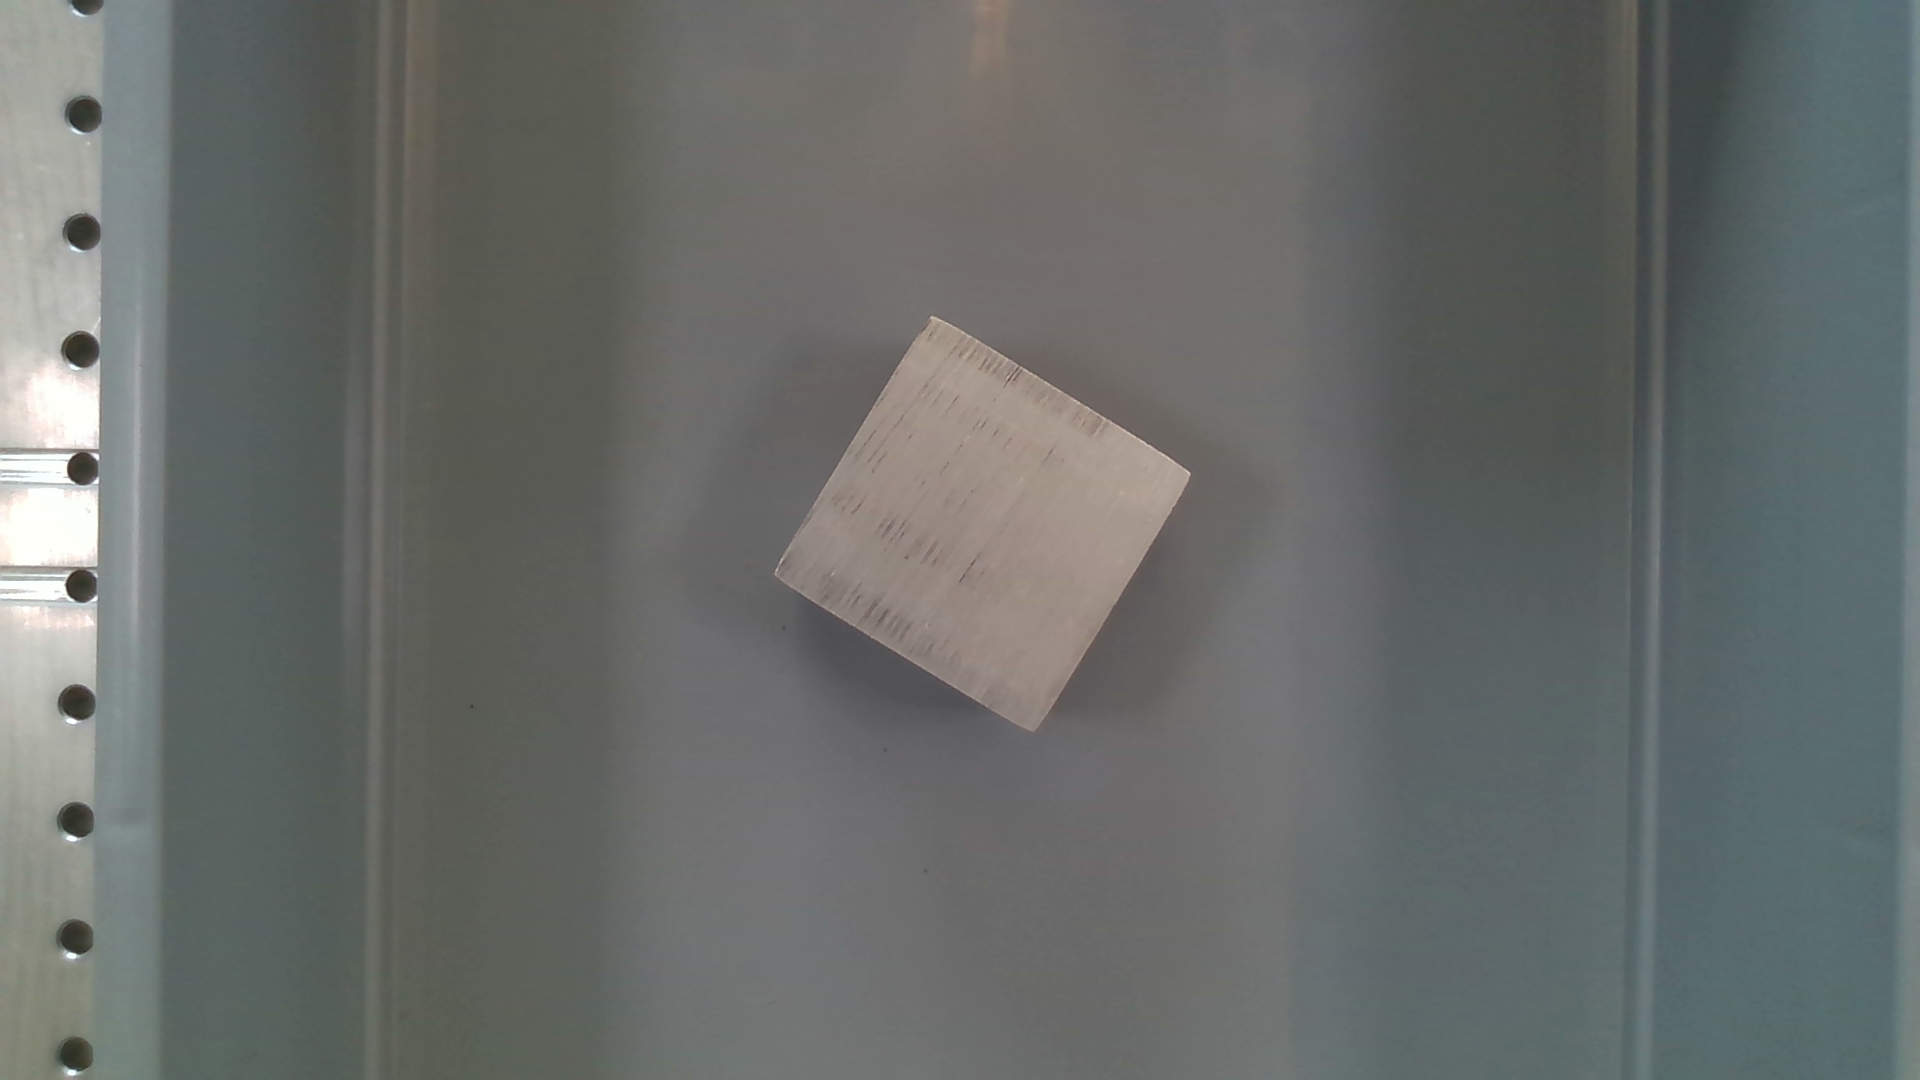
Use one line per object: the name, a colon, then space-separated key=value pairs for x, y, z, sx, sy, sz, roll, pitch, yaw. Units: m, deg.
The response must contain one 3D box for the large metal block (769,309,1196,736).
large metal block: x=0.006 y=-0.005 z=0.380 sx=0.080 sy=0.050 sz=0.080 roll=31 pitch=90 yaw=-1
